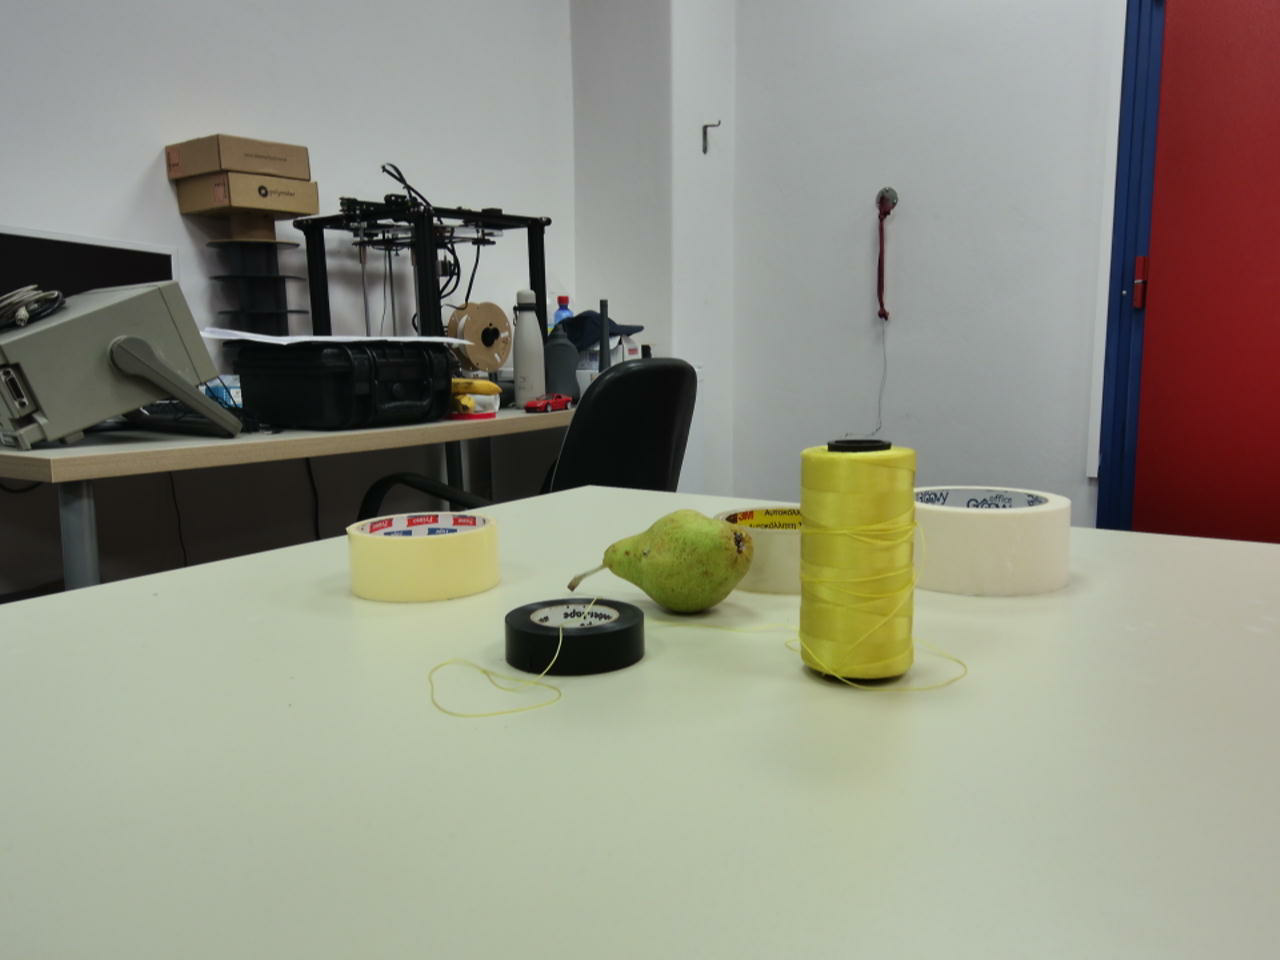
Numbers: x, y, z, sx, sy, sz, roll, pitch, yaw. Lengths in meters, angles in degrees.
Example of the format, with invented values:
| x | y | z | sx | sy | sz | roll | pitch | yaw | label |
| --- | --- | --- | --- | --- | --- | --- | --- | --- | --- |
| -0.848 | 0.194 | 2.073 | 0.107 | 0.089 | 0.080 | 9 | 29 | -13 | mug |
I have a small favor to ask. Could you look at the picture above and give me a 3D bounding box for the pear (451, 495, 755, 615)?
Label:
| x | y | z | sx | sy | sz | roll | pitch | yaw | label |
| --- | --- | --- | --- | --- | --- | --- | --- | --- | --- |
| 0.013 | 0.044 | 0.565 | 0.056 | 0.056 | 0.111 | -4 | 7 | -39 | pear |
